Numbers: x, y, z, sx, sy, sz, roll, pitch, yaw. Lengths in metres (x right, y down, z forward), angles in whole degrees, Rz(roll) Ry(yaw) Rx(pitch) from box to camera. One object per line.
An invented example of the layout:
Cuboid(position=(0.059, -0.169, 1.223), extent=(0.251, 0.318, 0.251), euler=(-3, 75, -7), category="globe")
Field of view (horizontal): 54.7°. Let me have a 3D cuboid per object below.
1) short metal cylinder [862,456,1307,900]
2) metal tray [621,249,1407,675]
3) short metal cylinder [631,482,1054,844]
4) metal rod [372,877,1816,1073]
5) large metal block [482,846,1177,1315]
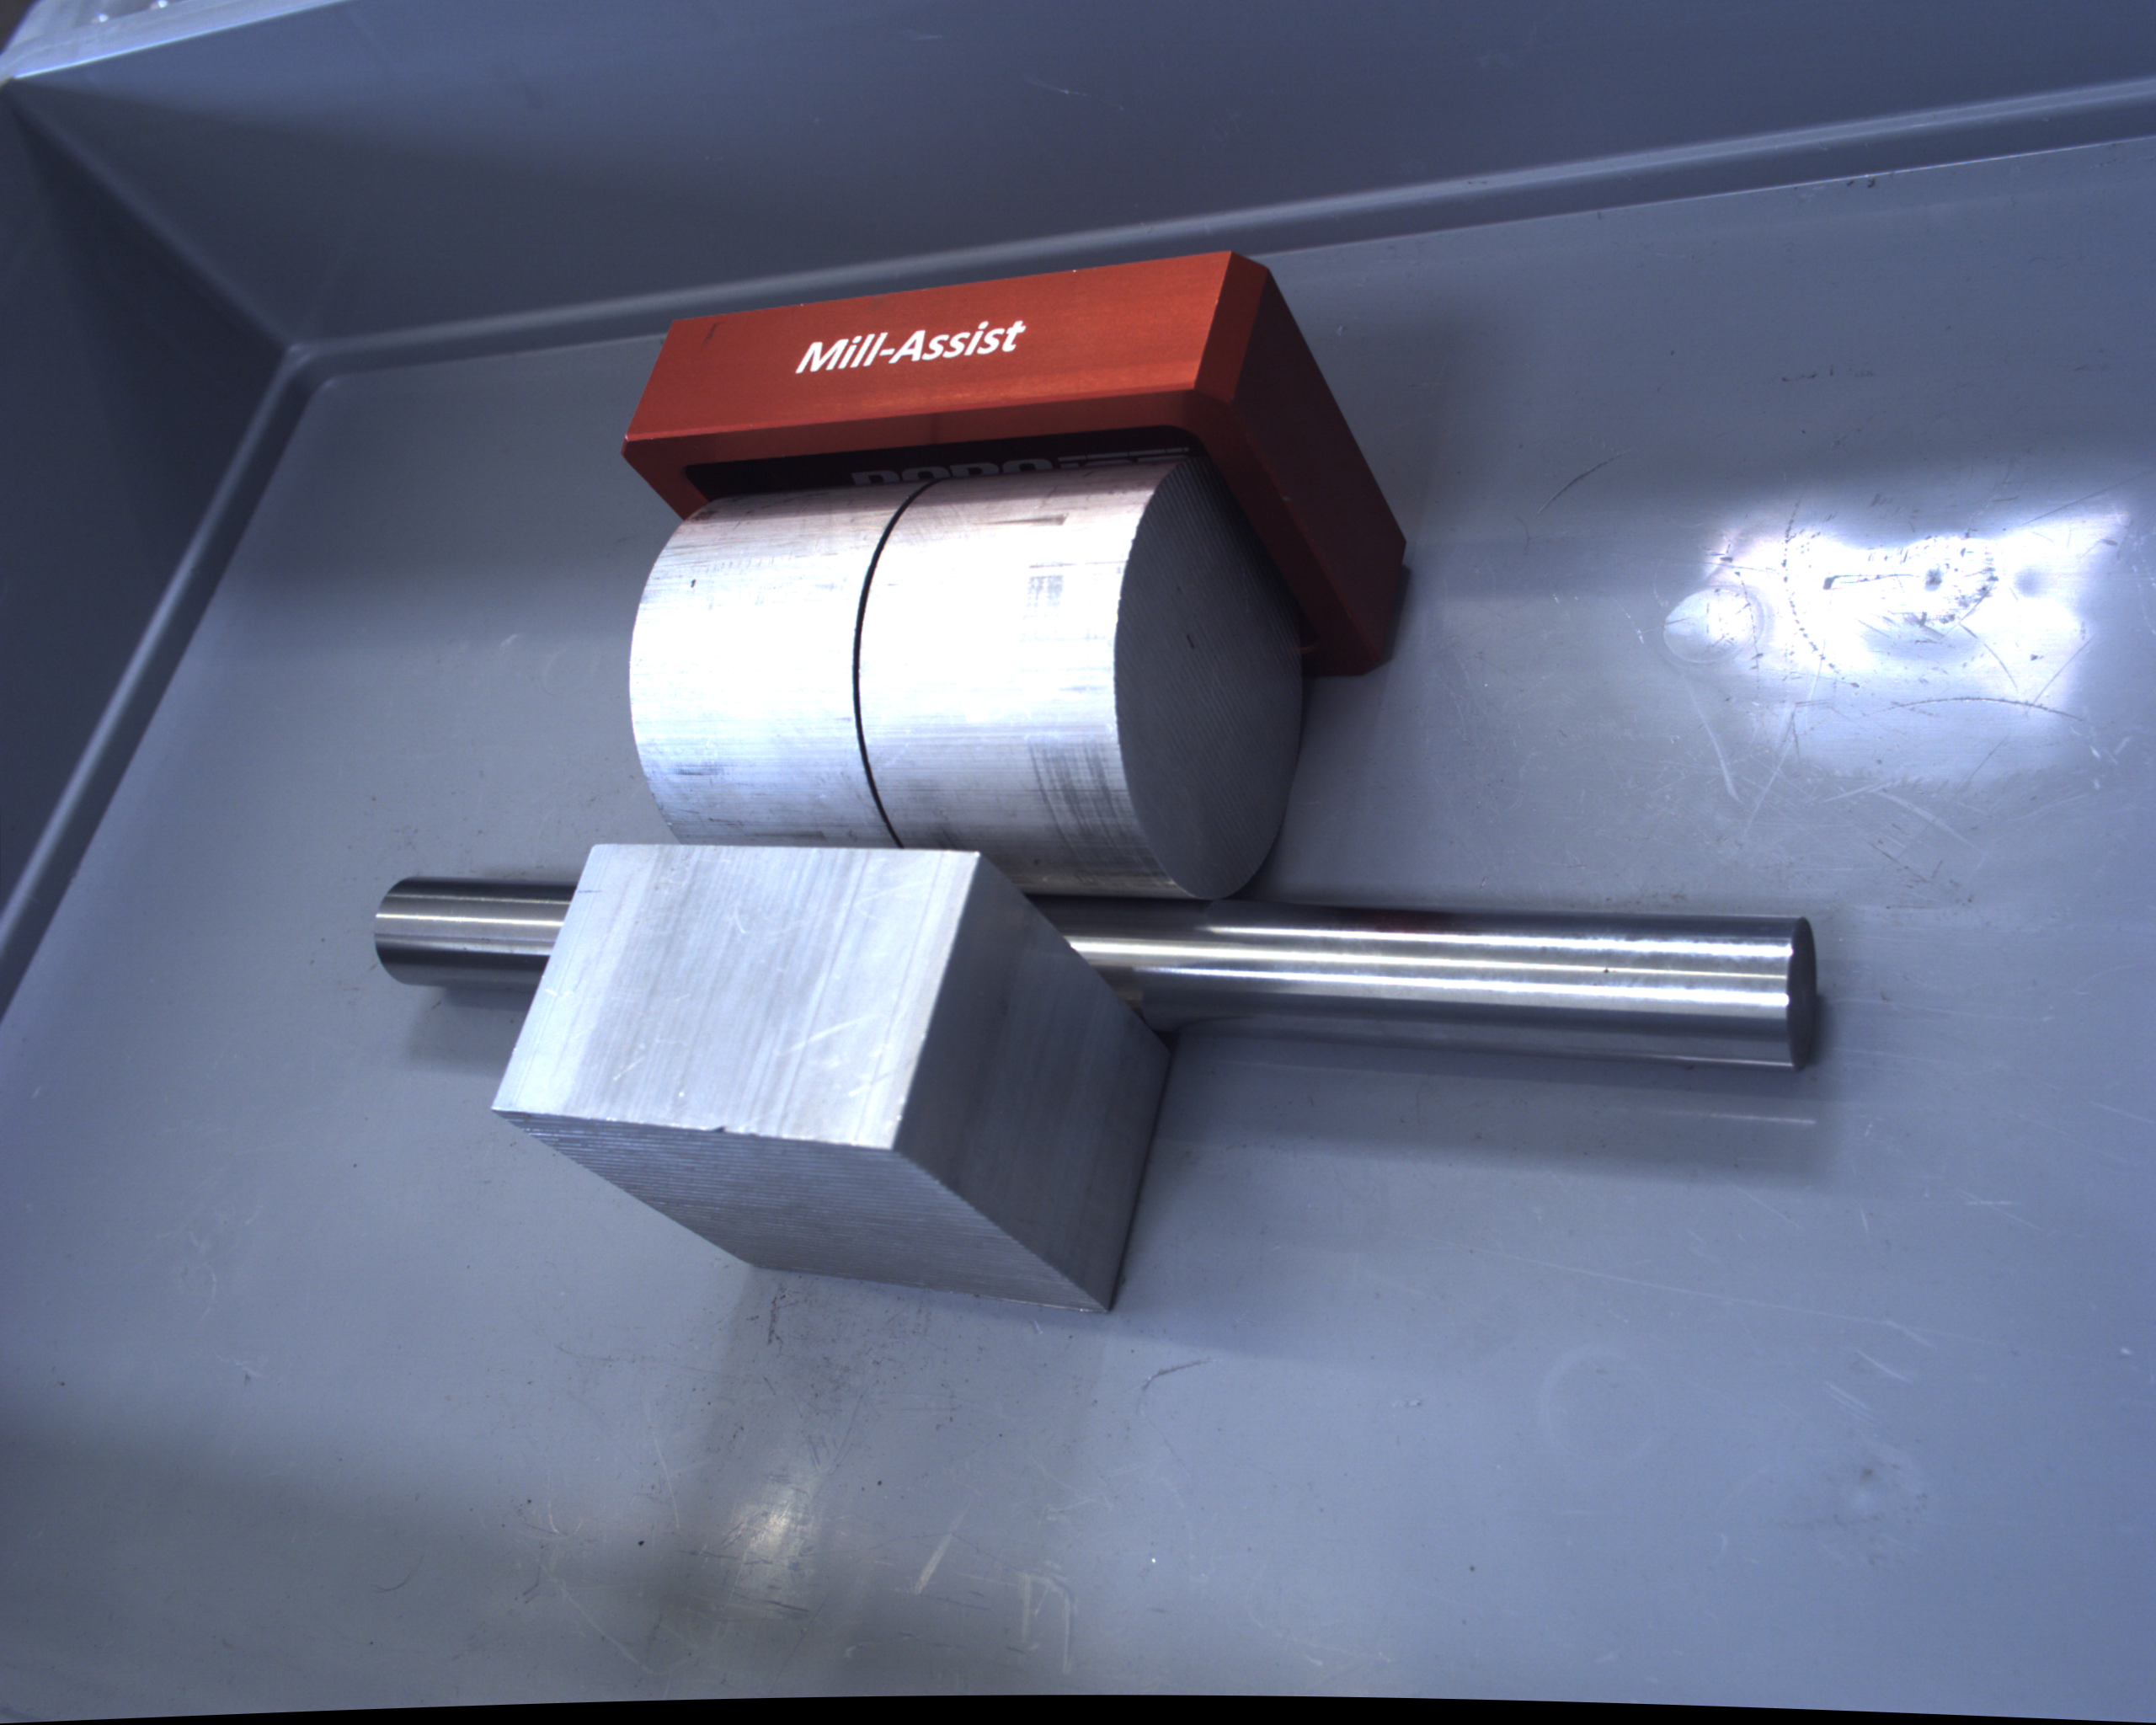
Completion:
Cuboid(position=(0.004, -0.034, 0.388), extent=(0.050, 0.080, 0.080), euler=(2, 63, 29), category="short metal cylinder")
Cuboid(position=(-0.012, -0.072, 0.412), extent=(0.130, 0.090, 0.030), euler=(1, 63, 29), category="metal tray")
Cuboid(position=(-0.042, -0.034, 0.412), extent=(0.050, 0.080, 0.080), euler=(1, 62, 28), category="short metal cylinder")
Cuboid(position=(-0.018, 0.018, 0.401), extent=(0.300, 0.025, 0.025), euler=(1, 62, 28), category="metal rod")
Cuboid(position=(-0.040, 0.038, 0.365), extent=(0.080, 0.080, 0.050), euler=(1, 62, 28), category="large metal block")
